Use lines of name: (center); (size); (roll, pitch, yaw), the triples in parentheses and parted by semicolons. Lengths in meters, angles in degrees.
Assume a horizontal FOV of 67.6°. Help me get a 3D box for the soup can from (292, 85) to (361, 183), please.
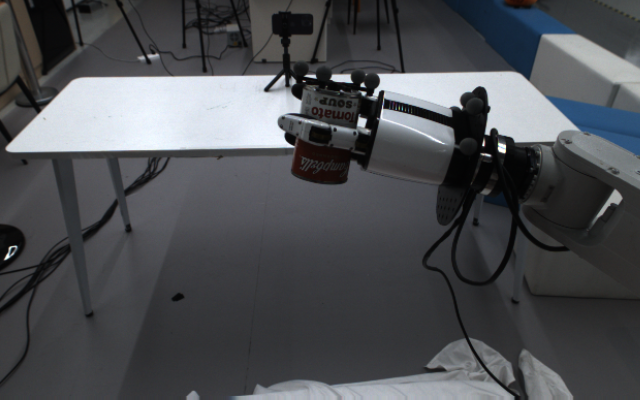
soup can: (0.008, -0.076, 0.550); (0.067, 0.101, 0.067); (9, 19, -3)
